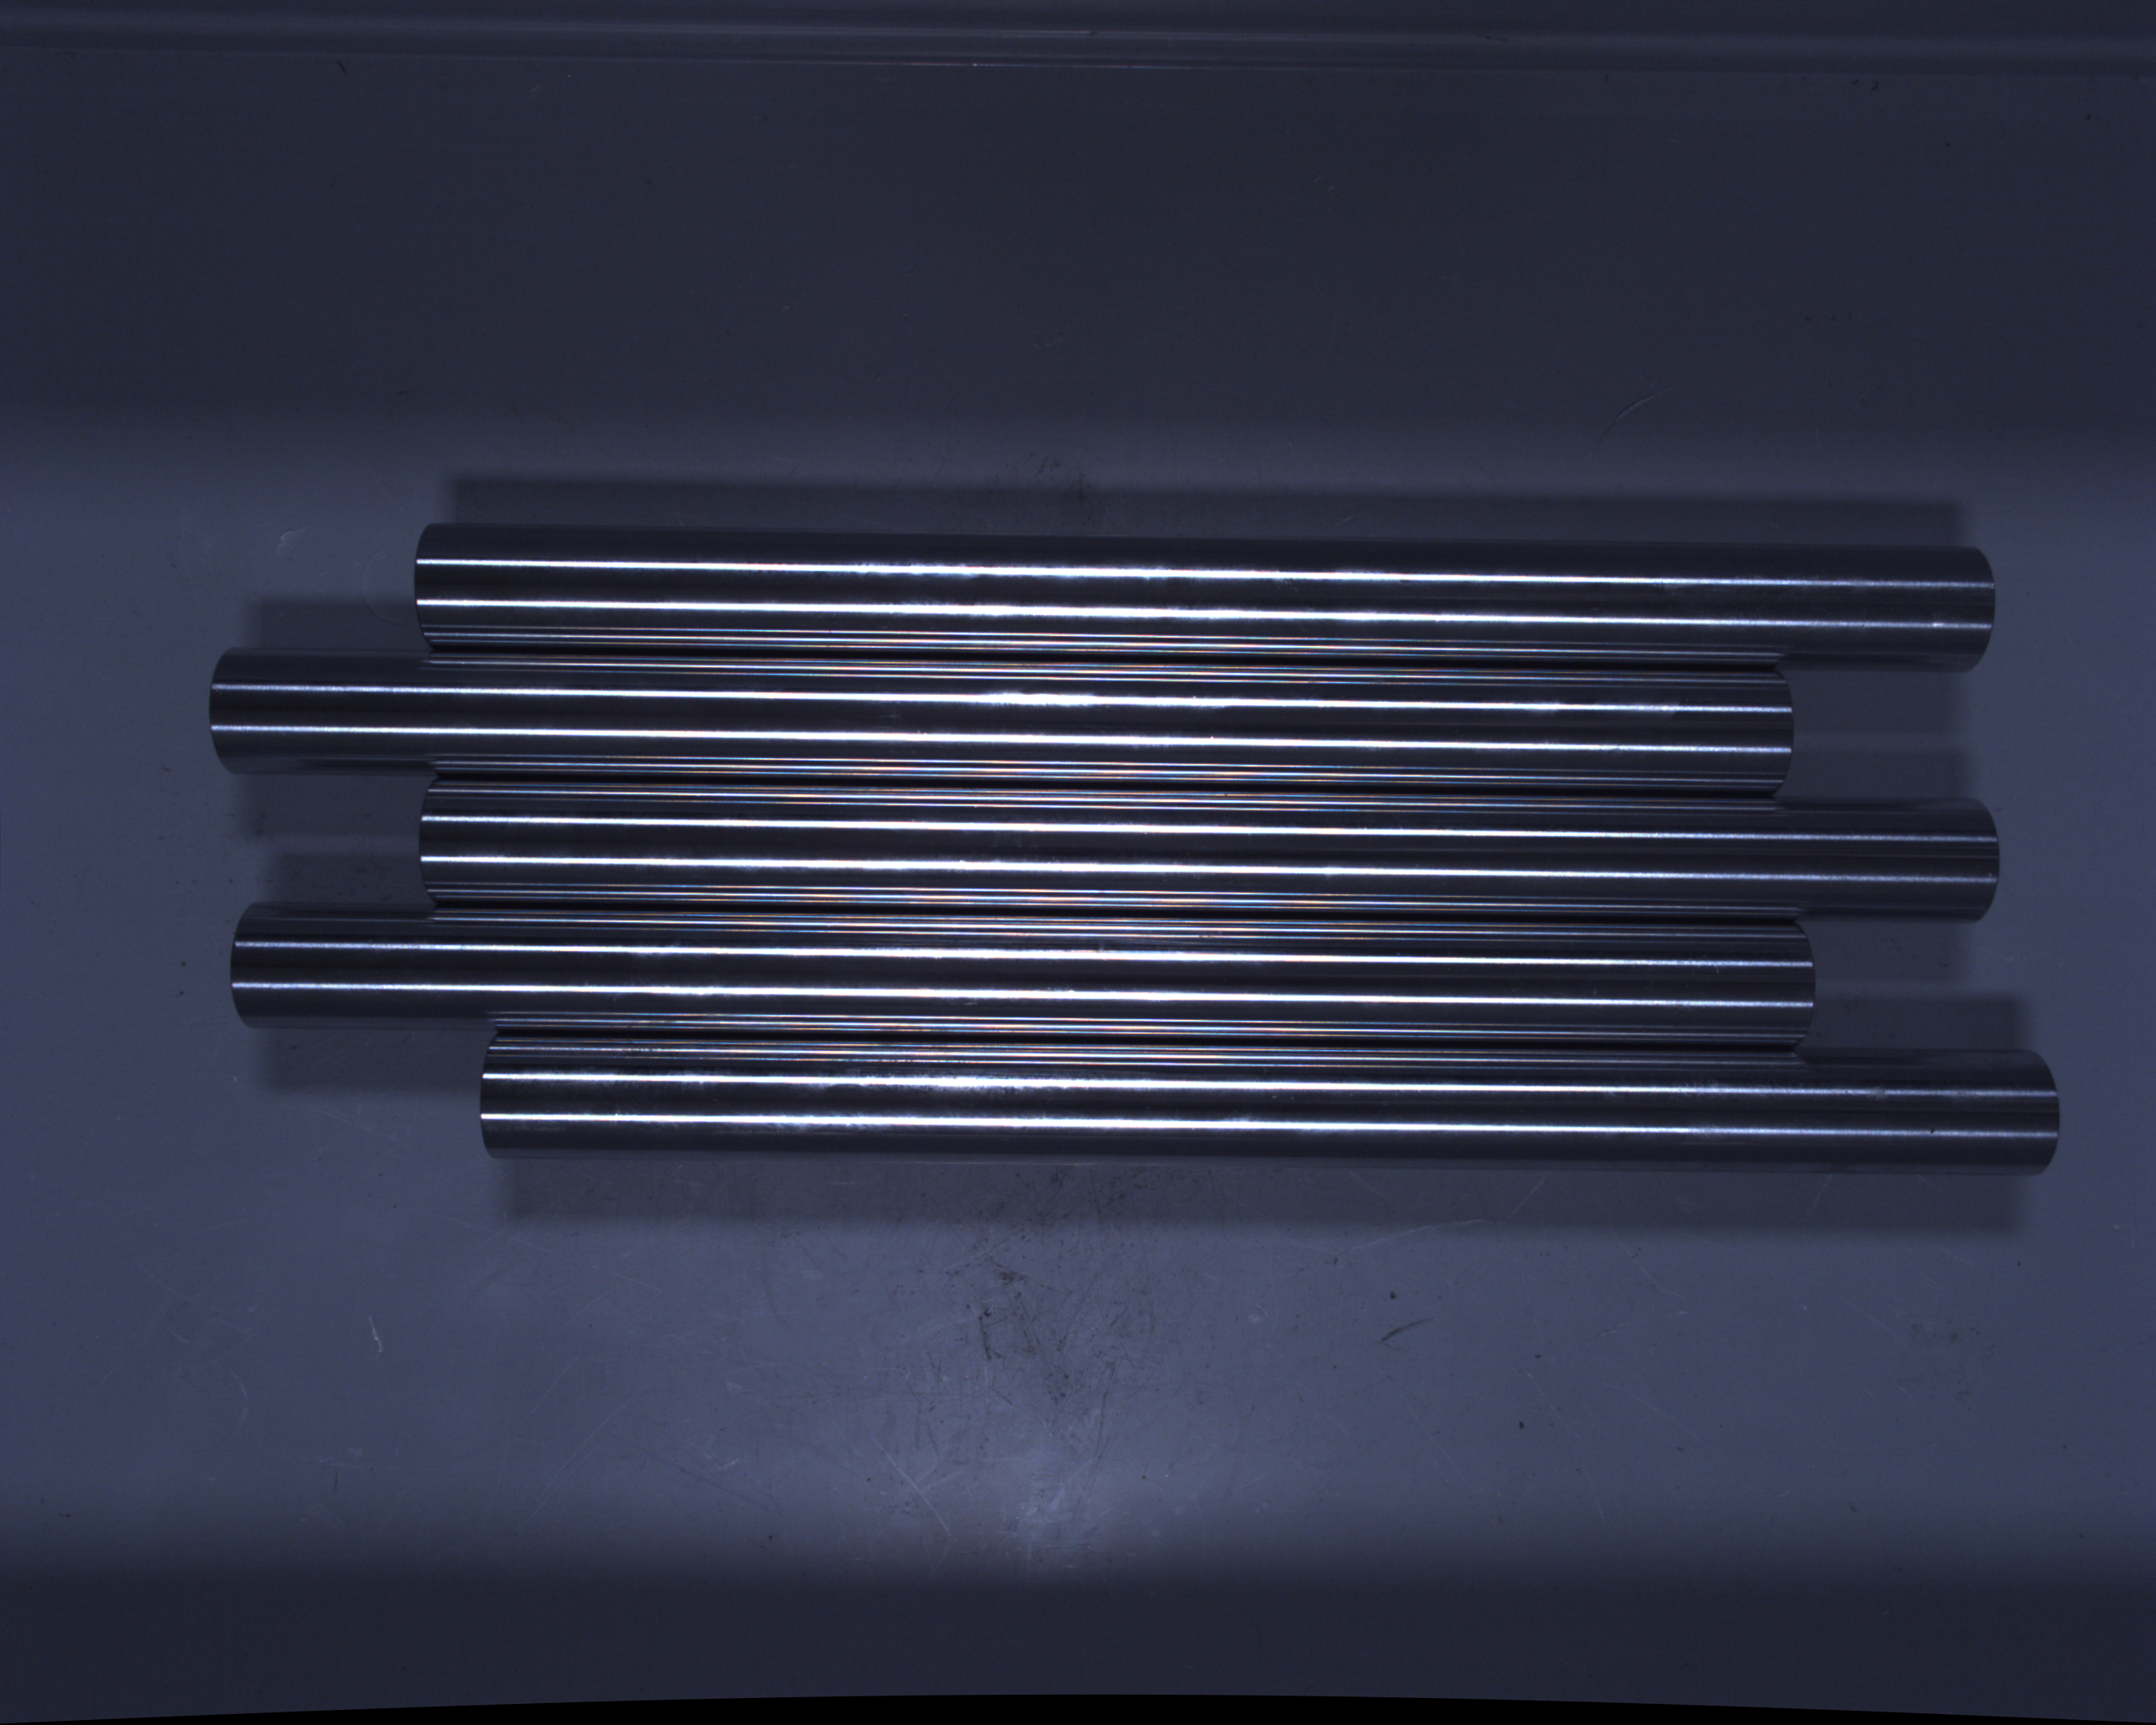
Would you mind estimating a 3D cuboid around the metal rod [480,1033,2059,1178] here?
[{"bbox_3d":[0.037,0.048,0.411,0.302,0.025,0.025,1,90,-1],"label":"metal rod"}]

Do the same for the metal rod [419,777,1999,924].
[{"bbox_3d":[0.026,-0.002,0.410,0.302,0.025,0.025,1,90,-1],"label":"metal rod"}]

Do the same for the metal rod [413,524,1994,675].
[{"bbox_3d":[0.025,-0.052,0.410,0.302,0.025,0.025,1,90,-1],"label":"metal rod"}]

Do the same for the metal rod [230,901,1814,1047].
[{"bbox_3d":[-0.010,0.022,0.410,0.302,0.025,0.025,1,90,-1],"label":"metal rod"}]

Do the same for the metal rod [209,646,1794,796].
[{"bbox_3d":[-0.014,-0.028,0.410,0.302,0.025,0.025,1,90,-1],"label":"metal rod"}]
